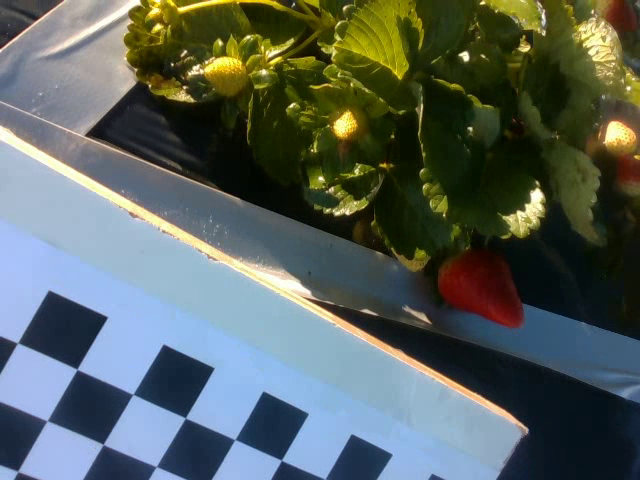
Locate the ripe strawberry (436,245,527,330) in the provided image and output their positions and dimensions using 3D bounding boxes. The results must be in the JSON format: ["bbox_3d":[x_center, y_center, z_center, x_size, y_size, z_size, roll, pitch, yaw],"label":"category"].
[{"bbox_3d":[0.090,0.028,0.347,0.045,0.048,0.063,-34,47,-3],"label":"ripe strawberry"}]
